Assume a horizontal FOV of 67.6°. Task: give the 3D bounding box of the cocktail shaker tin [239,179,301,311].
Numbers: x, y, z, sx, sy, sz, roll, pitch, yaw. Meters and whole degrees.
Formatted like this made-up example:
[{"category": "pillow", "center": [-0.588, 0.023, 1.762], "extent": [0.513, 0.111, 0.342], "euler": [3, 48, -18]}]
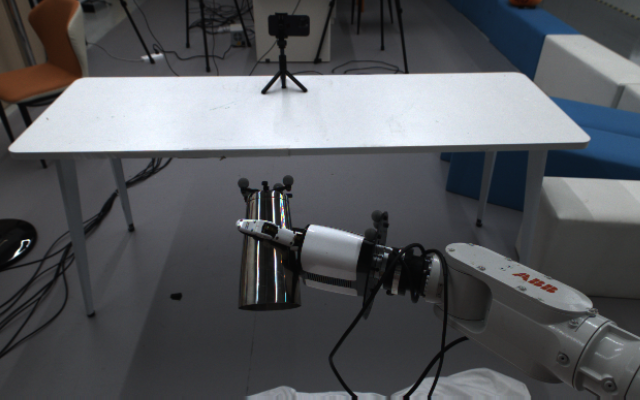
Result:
[{"category": "cocktail shaker tin", "center": [-0.078, 0.076, 0.725], "extent": [0.093, 0.093, 0.170], "euler": [-2, 68, -5]}]
